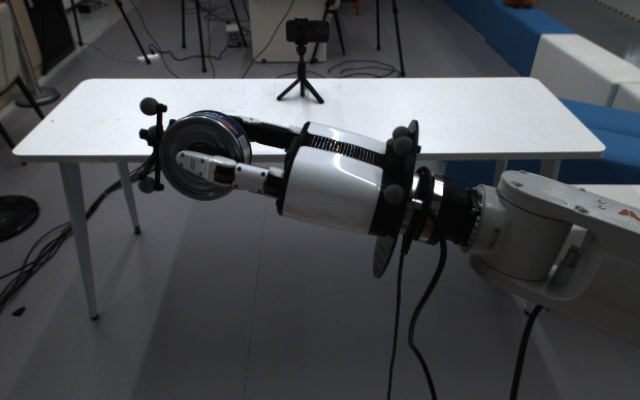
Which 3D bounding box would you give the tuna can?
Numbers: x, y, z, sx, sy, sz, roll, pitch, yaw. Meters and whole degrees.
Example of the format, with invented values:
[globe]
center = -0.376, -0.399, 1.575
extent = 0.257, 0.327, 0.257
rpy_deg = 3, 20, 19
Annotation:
[tuna can]
center = -0.110, -0.045, 0.480
extent = 0.085, 0.085, 0.034
rpy_deg = 4, 18, 2
